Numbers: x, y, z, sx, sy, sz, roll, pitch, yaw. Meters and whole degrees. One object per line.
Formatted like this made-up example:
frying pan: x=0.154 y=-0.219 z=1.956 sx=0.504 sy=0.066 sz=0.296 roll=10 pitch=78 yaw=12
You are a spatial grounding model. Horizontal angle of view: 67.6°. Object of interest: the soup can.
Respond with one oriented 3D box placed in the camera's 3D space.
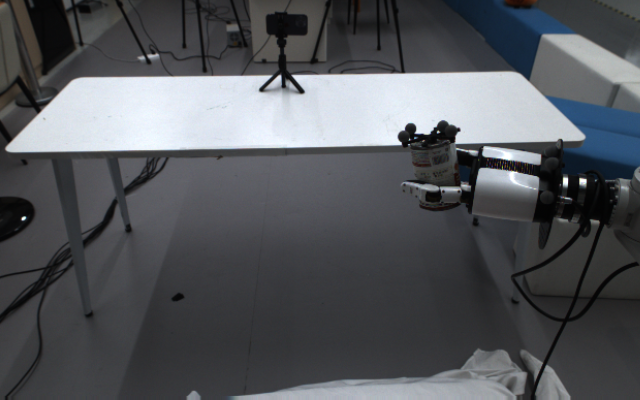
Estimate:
soup can: x=0.178 y=-0.043 z=0.730 sx=0.067 sy=0.101 sz=0.067 roll=-13 pitch=20 yaw=5
